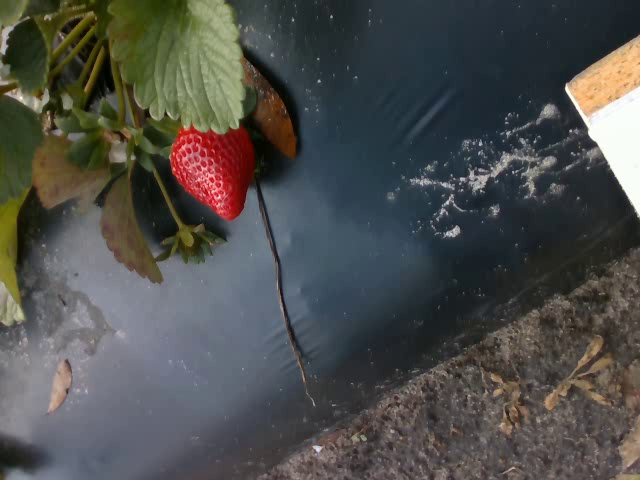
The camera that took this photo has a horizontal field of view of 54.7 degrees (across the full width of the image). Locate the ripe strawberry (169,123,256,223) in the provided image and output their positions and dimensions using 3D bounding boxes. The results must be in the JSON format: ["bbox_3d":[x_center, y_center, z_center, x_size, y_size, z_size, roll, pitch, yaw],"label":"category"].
[{"bbox_3d":[-0.049,-0.030,0.295,0.050,0.053,0.049,-38,-34,28],"label":"ripe strawberry"}]
